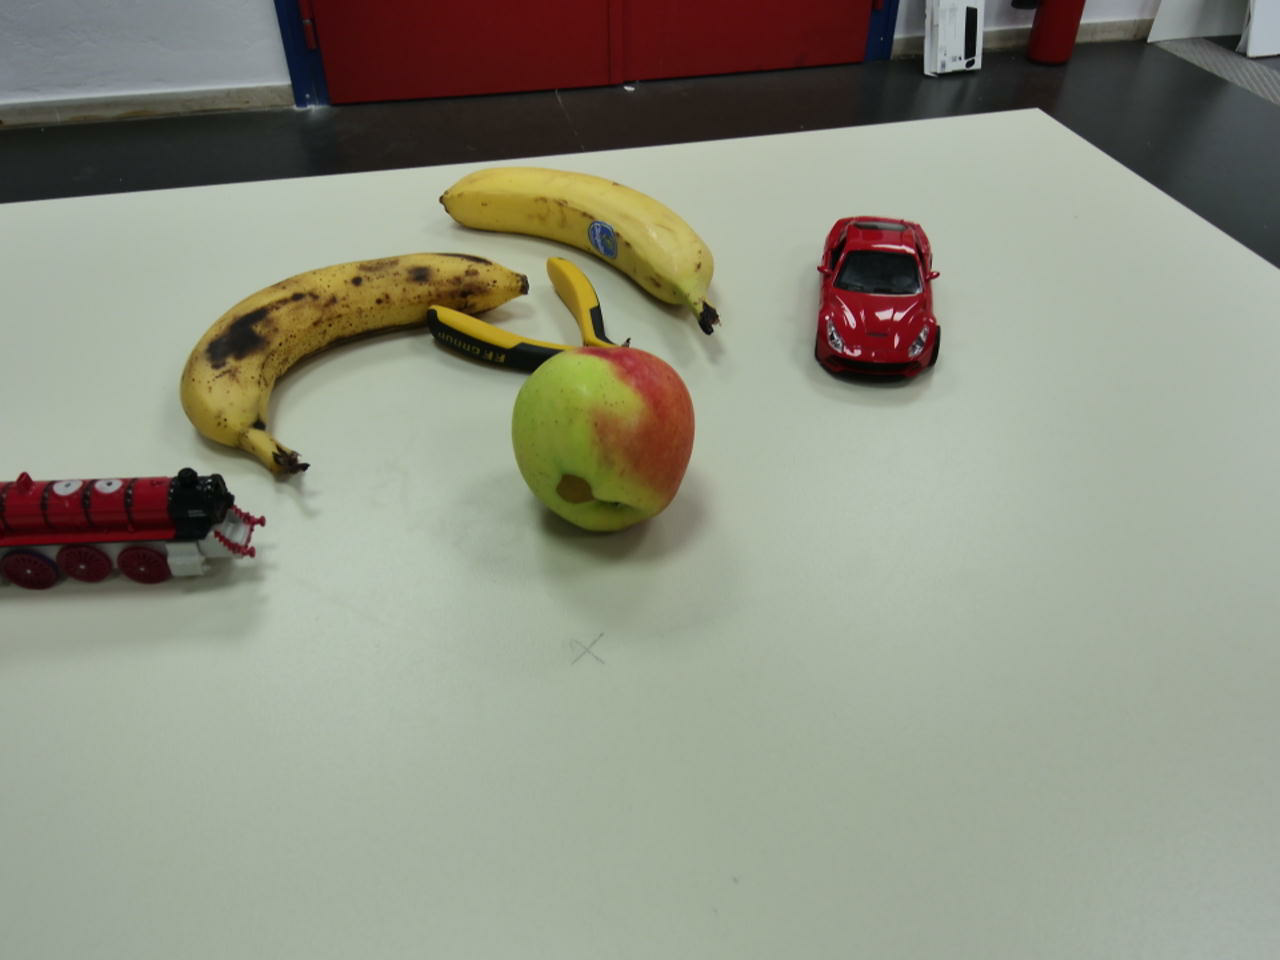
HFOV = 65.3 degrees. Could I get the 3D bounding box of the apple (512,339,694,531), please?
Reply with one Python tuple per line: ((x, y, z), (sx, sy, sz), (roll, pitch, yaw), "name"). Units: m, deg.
((-0.014, -0.018, 0.404), (0.075, 0.074, 0.075), (-21, 43, -26), "apple")
